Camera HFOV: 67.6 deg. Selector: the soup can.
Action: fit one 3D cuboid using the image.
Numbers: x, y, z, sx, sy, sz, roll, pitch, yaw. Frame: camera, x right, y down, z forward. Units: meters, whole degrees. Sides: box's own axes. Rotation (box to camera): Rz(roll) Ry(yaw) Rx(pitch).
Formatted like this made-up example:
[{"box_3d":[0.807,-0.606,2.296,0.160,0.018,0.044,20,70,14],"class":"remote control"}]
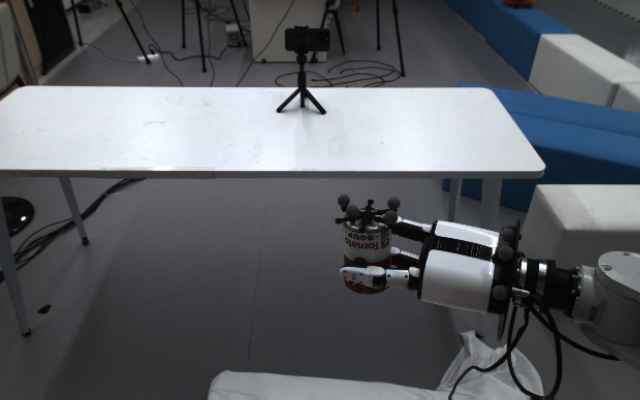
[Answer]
[{"box_3d":[0.068,0.069,0.674,0.067,0.101,0.067,-3,27,2],"class":"soup can"}]
